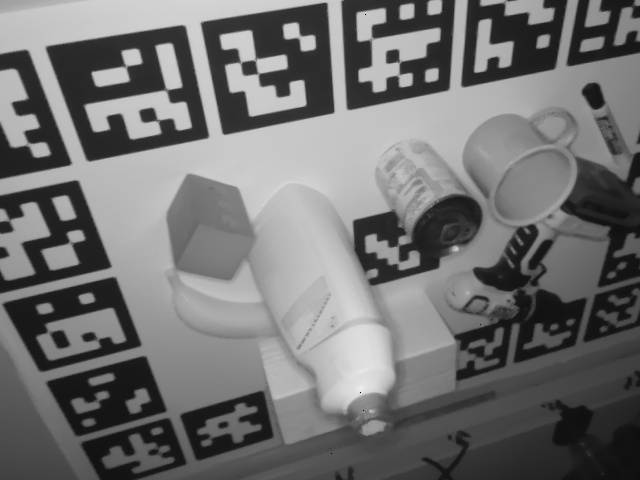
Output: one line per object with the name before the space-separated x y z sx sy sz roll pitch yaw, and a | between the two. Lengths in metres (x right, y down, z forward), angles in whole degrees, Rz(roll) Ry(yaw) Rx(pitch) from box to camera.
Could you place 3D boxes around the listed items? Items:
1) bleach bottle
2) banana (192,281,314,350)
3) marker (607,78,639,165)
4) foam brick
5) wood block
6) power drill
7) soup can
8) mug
bleach bottle | 0.017 0.050 0.585 0.069 0.251 0.101 13 121 -27
banana | -0.035 0.079 0.721 0.199 0.039 0.073 2 110 -18
marker | 0.323 -0.121 0.718 0.019 0.019 0.121 -38 127 7
foam brick | -0.084 -0.021 0.612 0.053 0.078 0.051 17 120 -30
wood block | 0.056 0.145 0.772 0.208 0.091 0.089 -13 127 -10
power drill | 0.272 0.020 0.782 0.186 0.057 0.184 14 120 -24
soup can | 0.119 -0.040 0.643 0.068 0.102 0.067 -9 131 -10
mug | 0.219 -0.075 0.672 0.094 0.081 0.116 29 109 -31
